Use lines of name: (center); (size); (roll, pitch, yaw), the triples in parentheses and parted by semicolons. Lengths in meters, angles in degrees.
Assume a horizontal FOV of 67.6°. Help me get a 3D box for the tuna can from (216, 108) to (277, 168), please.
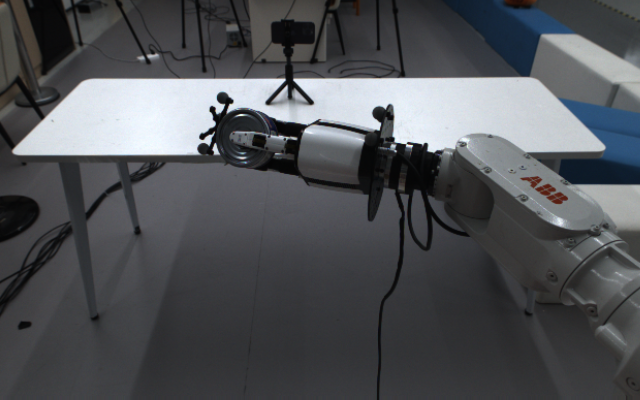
tuna can: (-0.104, -0.089, 0.695); (0.085, 0.085, 0.034); (12, 5, 14)
